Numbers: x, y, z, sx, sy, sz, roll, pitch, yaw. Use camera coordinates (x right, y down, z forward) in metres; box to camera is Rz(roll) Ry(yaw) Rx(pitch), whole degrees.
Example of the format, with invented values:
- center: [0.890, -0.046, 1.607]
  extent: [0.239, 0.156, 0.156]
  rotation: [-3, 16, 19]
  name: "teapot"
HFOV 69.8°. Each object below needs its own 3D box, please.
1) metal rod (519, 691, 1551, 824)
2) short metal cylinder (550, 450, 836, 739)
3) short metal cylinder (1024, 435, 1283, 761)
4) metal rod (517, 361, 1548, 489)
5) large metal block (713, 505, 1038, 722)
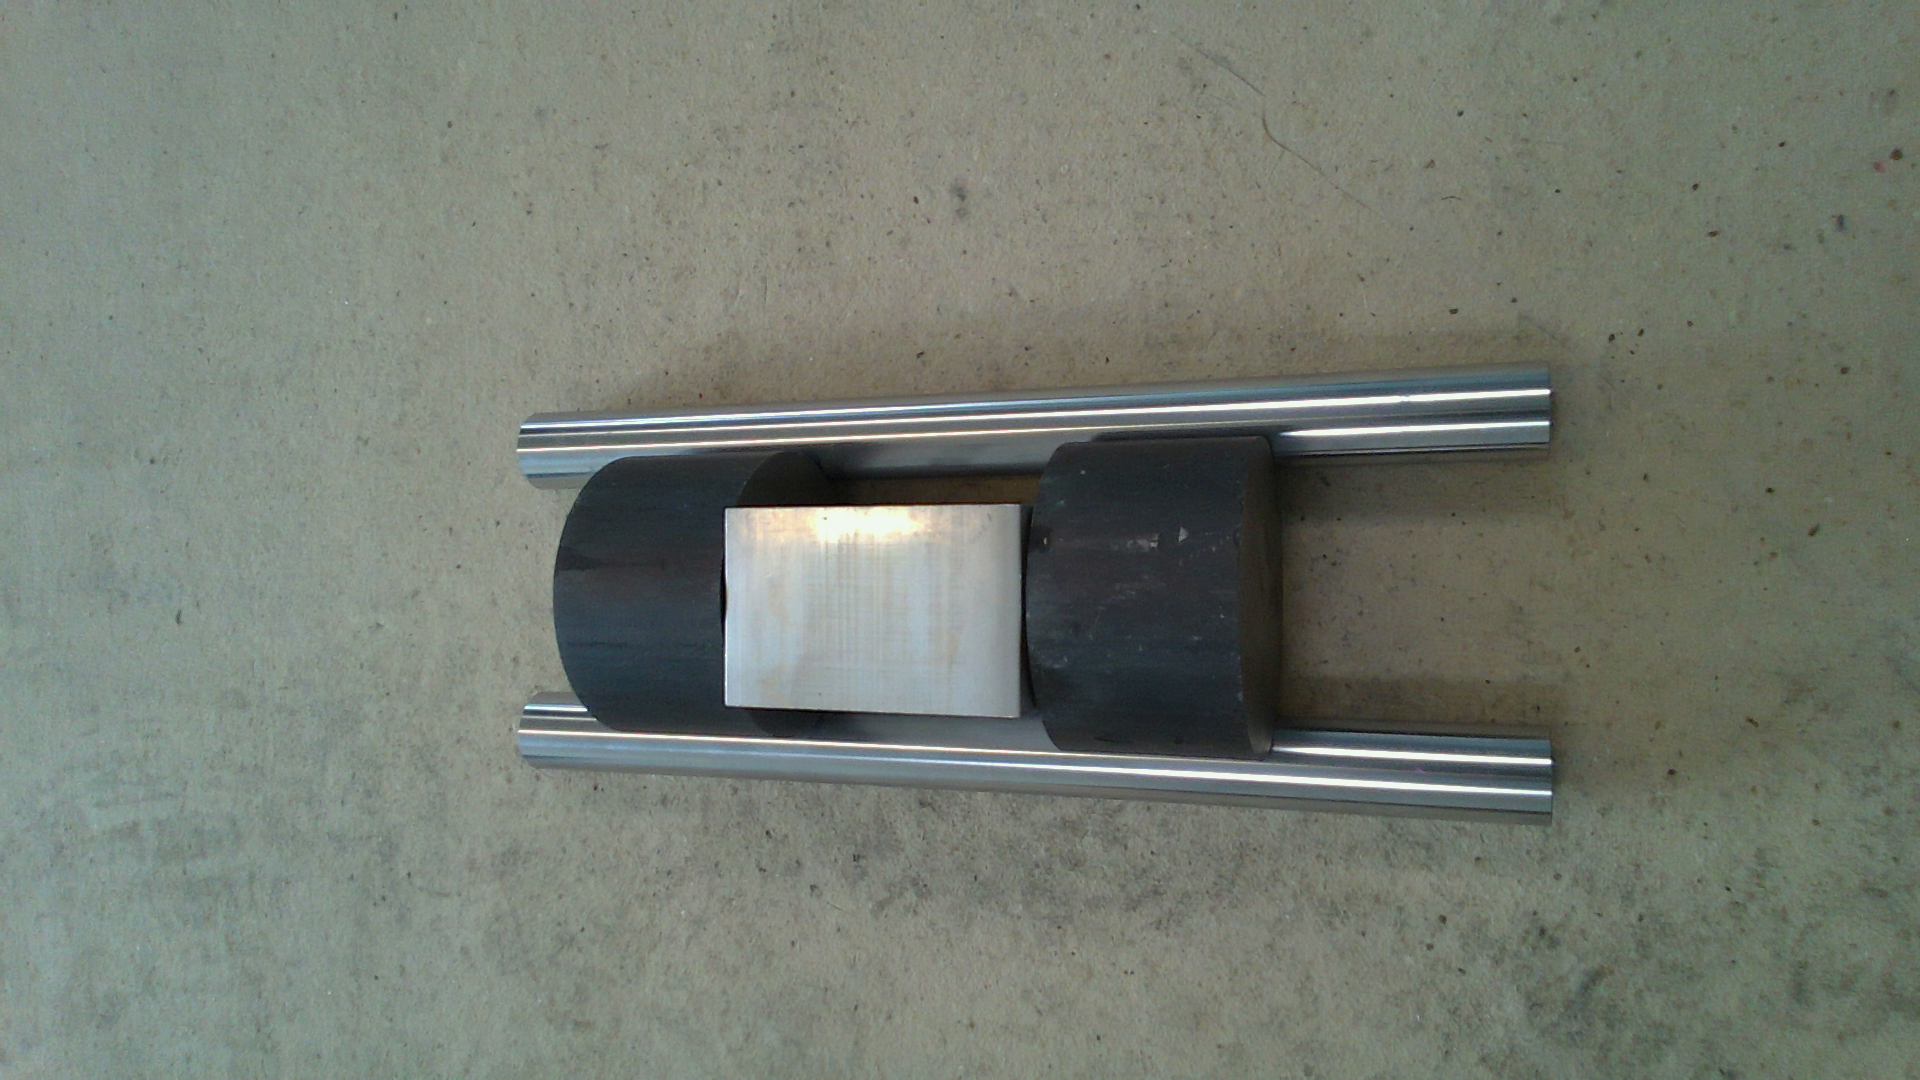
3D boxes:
- center: [0.006, 0.060, 0.394]
  extent: [0.299, 0.025, 0.025]
  rotation: [-1, 90, 20]
  name: "metal rod"
- center: [-0.071, 0.015, 0.392]
  extent: [0.050, 0.080, 0.080]
  rotation: [-1, 90, 20]
  name: "short metal cylinder"
- center: [0.052, 0.014, 0.347]
  extent: [0.050, 0.080, 0.080]
  rotation: [-1, 90, 20]
  name: "short metal cylinder"
- center: [0.005, -0.031, 0.394]
  extent: [0.299, 0.025, 0.025]
  rotation: [-1, 90, 20]
  name: "metal rod"
- center: [-0.010, 0.017, 0.368]
  extent: [0.080, 0.080, 0.050]
  rotation: [0, 90, 20]
  name: "large metal block"
